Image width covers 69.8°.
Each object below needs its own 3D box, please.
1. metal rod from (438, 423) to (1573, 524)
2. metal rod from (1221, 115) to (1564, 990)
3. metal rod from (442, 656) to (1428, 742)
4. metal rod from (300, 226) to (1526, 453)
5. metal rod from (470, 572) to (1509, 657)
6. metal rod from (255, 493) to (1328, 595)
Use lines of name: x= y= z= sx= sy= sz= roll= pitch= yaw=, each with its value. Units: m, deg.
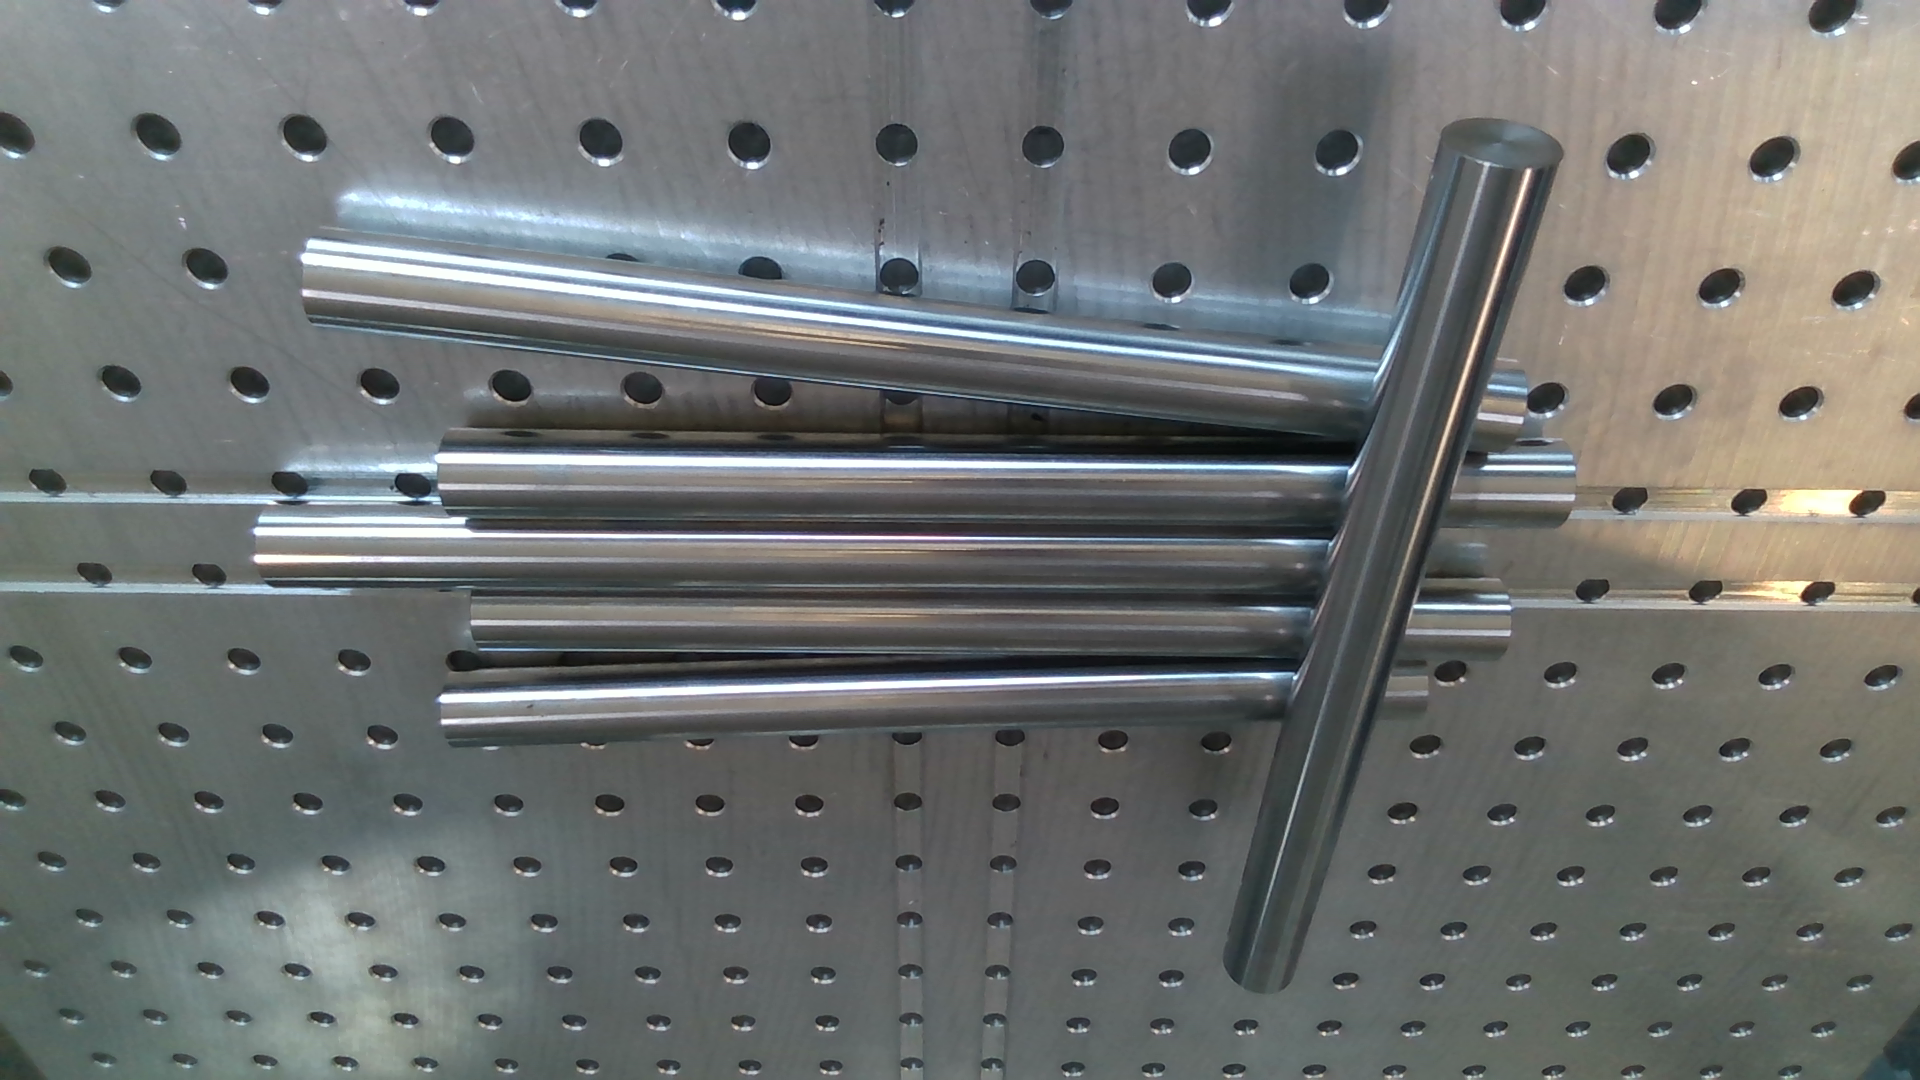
metal rod: x=0.012 y=-0.018 z=0.376 sx=0.300 sy=0.025 sz=0.025 roll=0 pitch=130 yaw=0
metal rod: x=0.109 y=0.031 z=0.385 sx=0.025 sy=0.025 sz=0.301 roll=1 pitch=130 yaw=-1
metal rod: x=-0.009 y=0.047 z=0.431 sx=0.300 sy=0.025 sz=0.025 roll=-2 pitch=130 yaw=2
metal rod: x=-0.007 y=-0.049 z=0.348 sx=0.300 sy=0.025 sz=0.025 roll=6 pitch=130 yaw=-5
metal rod: x=0.009 y=0.021 z=0.410 sx=0.300 sy=0.025 sz=0.025 roll=1 pitch=130 yaw=-1
metal rod: x=-0.044 y=0.001 z=0.392 sx=0.300 sy=0.025 sz=0.025 roll=1 pitch=130 yaw=0
